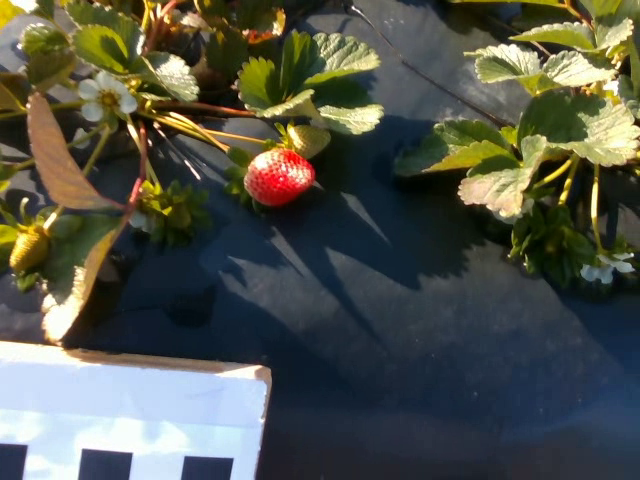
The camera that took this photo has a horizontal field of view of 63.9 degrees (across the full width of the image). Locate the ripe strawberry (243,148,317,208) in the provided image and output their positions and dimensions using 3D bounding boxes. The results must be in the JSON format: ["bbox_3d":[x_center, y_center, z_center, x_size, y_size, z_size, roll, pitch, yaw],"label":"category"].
[{"bbox_3d":[-0.016,-0.031,0.252,0.042,0.037,0.045,-15,11,-31],"label":"ripe strawberry"}]
